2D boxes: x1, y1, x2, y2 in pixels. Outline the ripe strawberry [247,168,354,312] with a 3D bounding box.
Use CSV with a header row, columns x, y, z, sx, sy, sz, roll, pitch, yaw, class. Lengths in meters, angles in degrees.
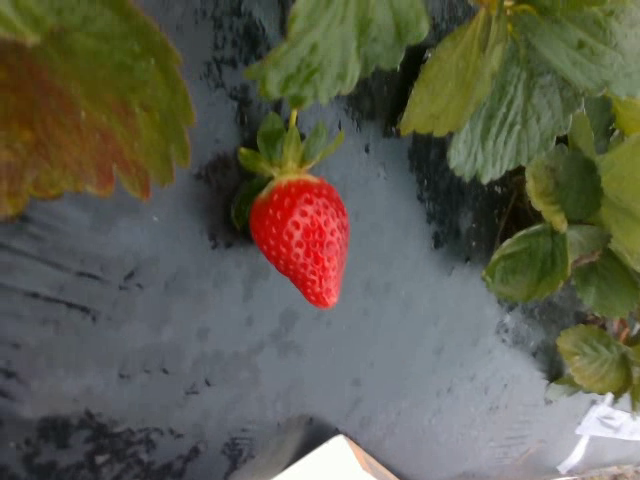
x,y,z,sx,sy,sz,roll,pitch,yaw,class
-0.004,0.001,0.227,0.045,0.053,0.048,-5,-3,-28,ripe strawberry
